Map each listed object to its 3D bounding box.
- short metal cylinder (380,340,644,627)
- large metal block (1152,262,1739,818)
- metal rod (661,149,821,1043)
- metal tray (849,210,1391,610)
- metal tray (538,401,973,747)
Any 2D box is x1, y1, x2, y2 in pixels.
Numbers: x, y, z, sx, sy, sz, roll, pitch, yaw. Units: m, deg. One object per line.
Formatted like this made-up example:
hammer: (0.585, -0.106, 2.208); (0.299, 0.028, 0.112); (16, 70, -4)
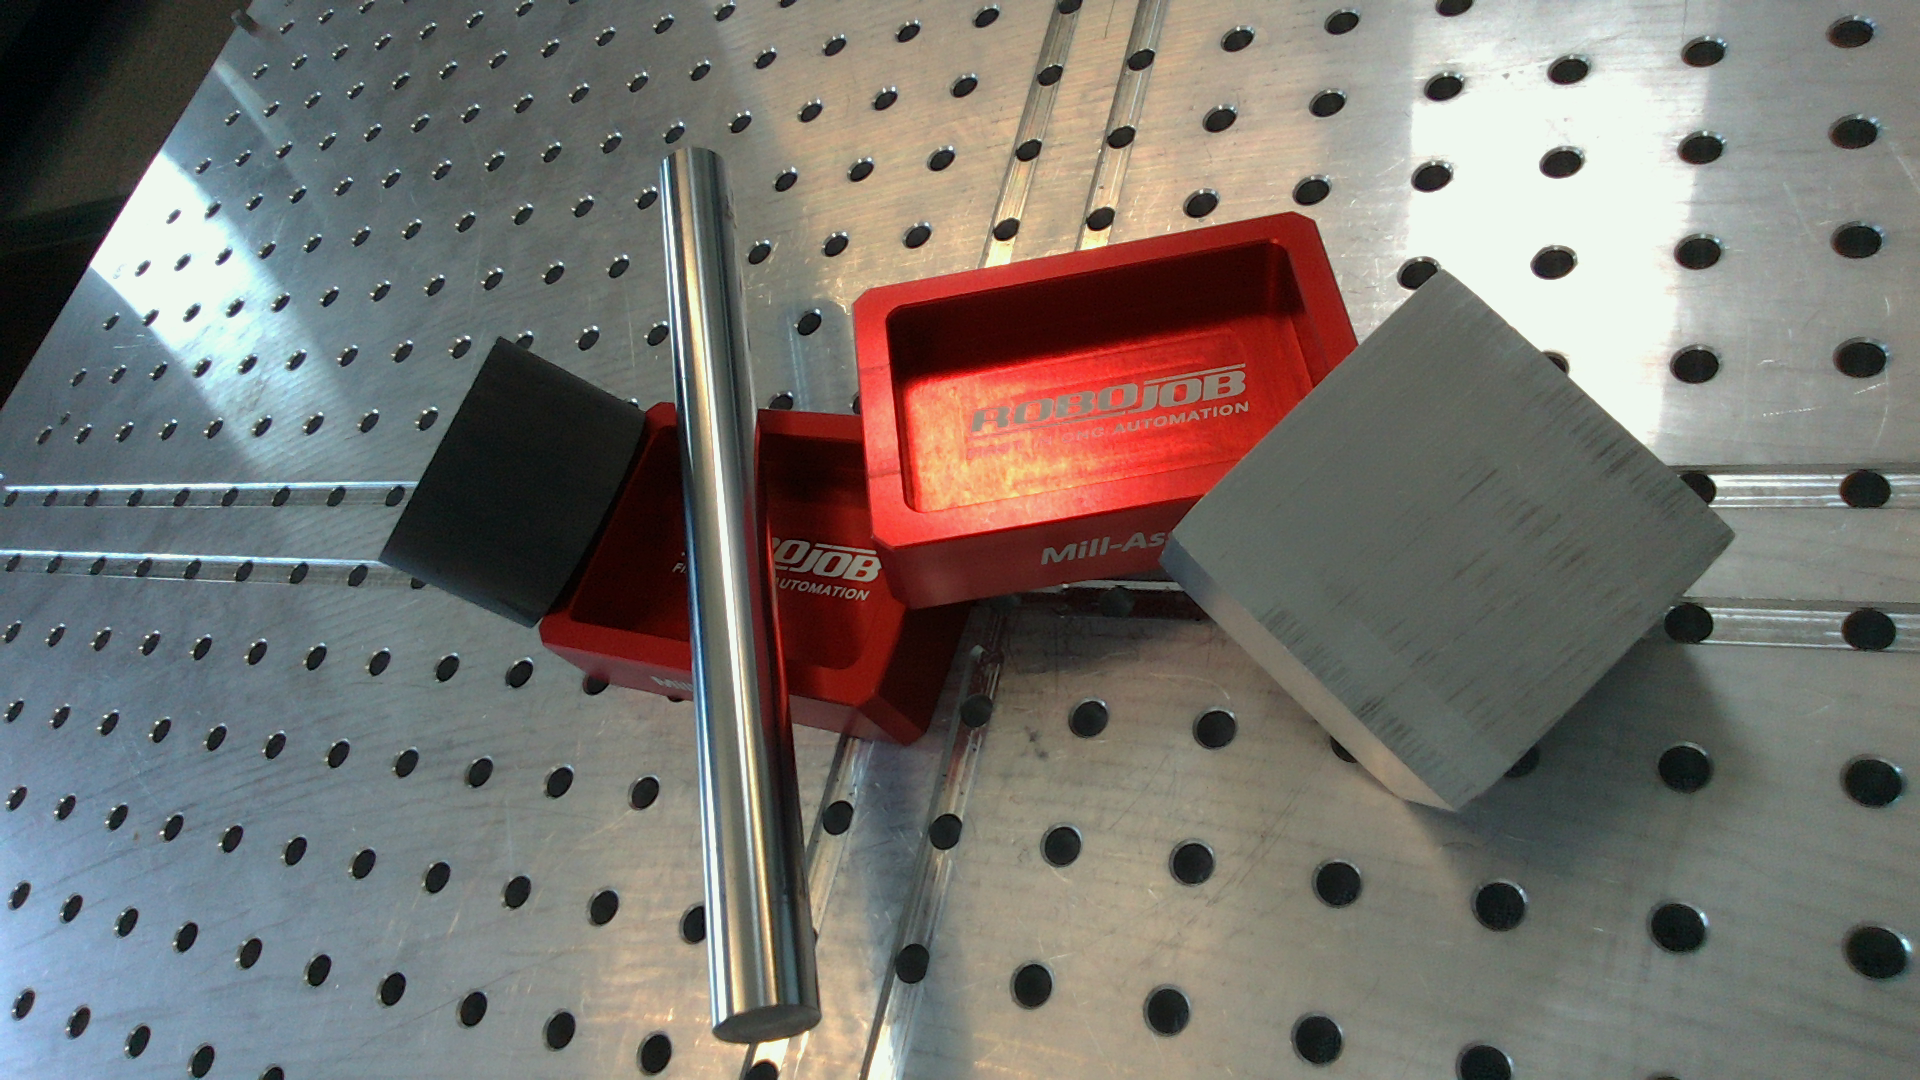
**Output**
short metal cylinder: (-0.144, -0.018, 0.447); (0.080, 0.050, 0.080); (-50, 23, 30)
large metal block: (0.101, 0.002, 0.302); (0.080, 0.050, 0.080); (-44, 82, -2)
metal rod: (-0.069, -0.009, 0.401); (0.025, 0.025, 0.300); (-23, 53, 15)
metal tray: (0.039, -0.036, 0.370); (0.130, 0.030, 0.090); (-10, 56, 3)
metal tray: (-0.058, 0.006, 0.421); (0.129, 0.030, 0.090); (7, 65, 31)
